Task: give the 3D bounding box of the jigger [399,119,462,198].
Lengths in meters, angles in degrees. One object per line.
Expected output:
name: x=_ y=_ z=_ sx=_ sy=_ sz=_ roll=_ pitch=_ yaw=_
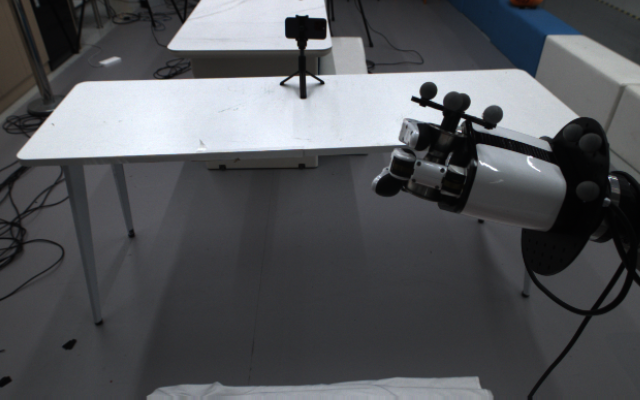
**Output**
jigger: x=0.114 y=-0.037 z=0.482 sx=0.043 sy=0.071 sz=0.043 roll=18 pitch=17 yaw=-6
